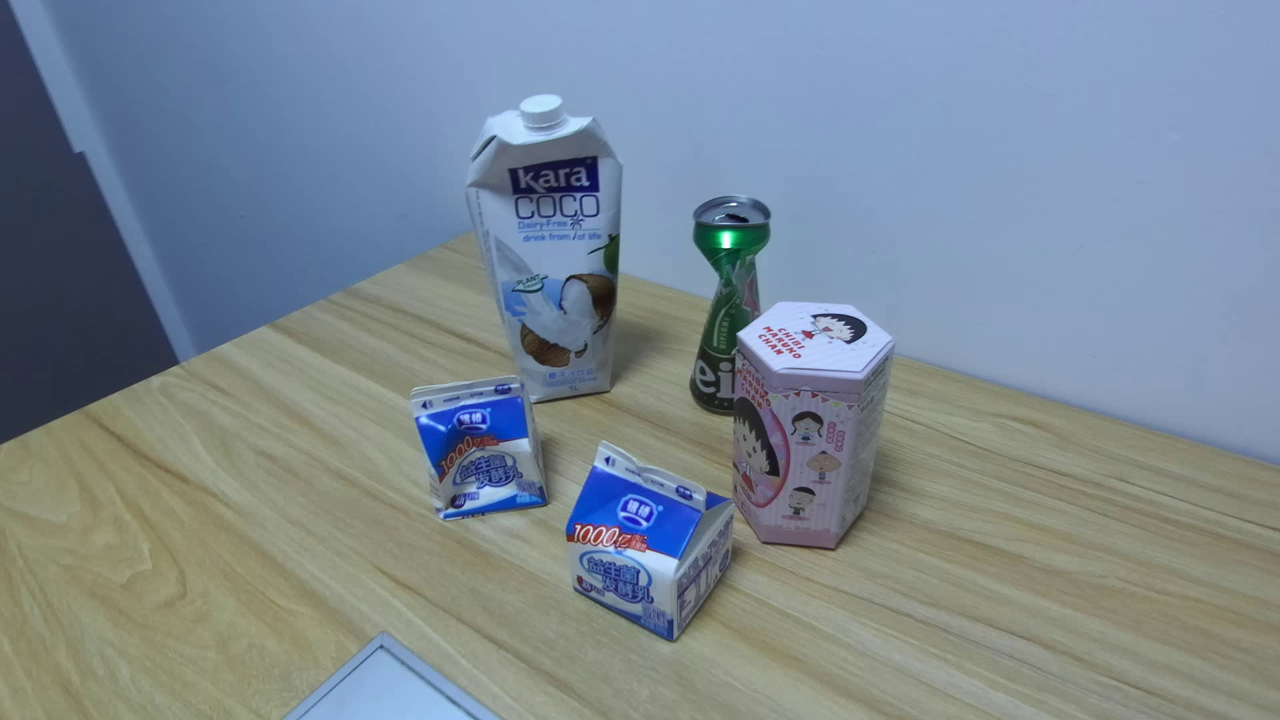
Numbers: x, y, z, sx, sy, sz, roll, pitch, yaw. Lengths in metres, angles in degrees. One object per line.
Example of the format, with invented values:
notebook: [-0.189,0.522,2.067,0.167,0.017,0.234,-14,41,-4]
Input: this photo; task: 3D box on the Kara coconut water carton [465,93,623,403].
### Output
Kara coconut water carton: [-0.068,-0.081,0.547,0.115,0.239,0.069,-7,35,-8]

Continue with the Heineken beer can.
Heineken beer can: [0.072,-0.040,0.547,0.078,0.164,0.065,-30,42,-31]

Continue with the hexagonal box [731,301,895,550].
hexagonal box: [0.103,0.042,0.442,0.084,0.136,0.091,-13,35,-16]

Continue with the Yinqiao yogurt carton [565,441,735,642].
Yinqiao yogurt carton: [0.007,0.095,0.409,0.075,0.092,0.074,18,38,28]

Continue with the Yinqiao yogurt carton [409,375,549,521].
Yinqiao yogurt carton: [-0.108,0.050,0.485,0.077,0.094,0.071,-8,37,-5]
